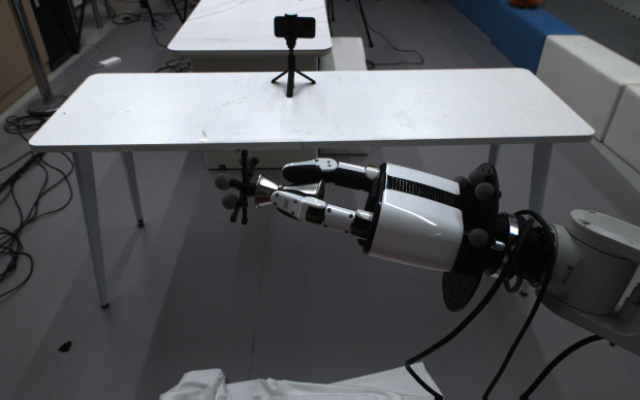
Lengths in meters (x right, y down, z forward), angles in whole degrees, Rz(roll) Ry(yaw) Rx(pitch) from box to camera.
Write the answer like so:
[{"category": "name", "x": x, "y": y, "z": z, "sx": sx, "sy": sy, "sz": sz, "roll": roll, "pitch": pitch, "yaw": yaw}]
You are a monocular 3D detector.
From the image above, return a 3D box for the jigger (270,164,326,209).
[{"category": "jigger", "x": -0.024, "y": -0.011, "z": 0.527, "sx": 0.071, "sy": 0.043, "sz": 0.043, "roll": 7, "pitch": 35, "yaw": 8}]
